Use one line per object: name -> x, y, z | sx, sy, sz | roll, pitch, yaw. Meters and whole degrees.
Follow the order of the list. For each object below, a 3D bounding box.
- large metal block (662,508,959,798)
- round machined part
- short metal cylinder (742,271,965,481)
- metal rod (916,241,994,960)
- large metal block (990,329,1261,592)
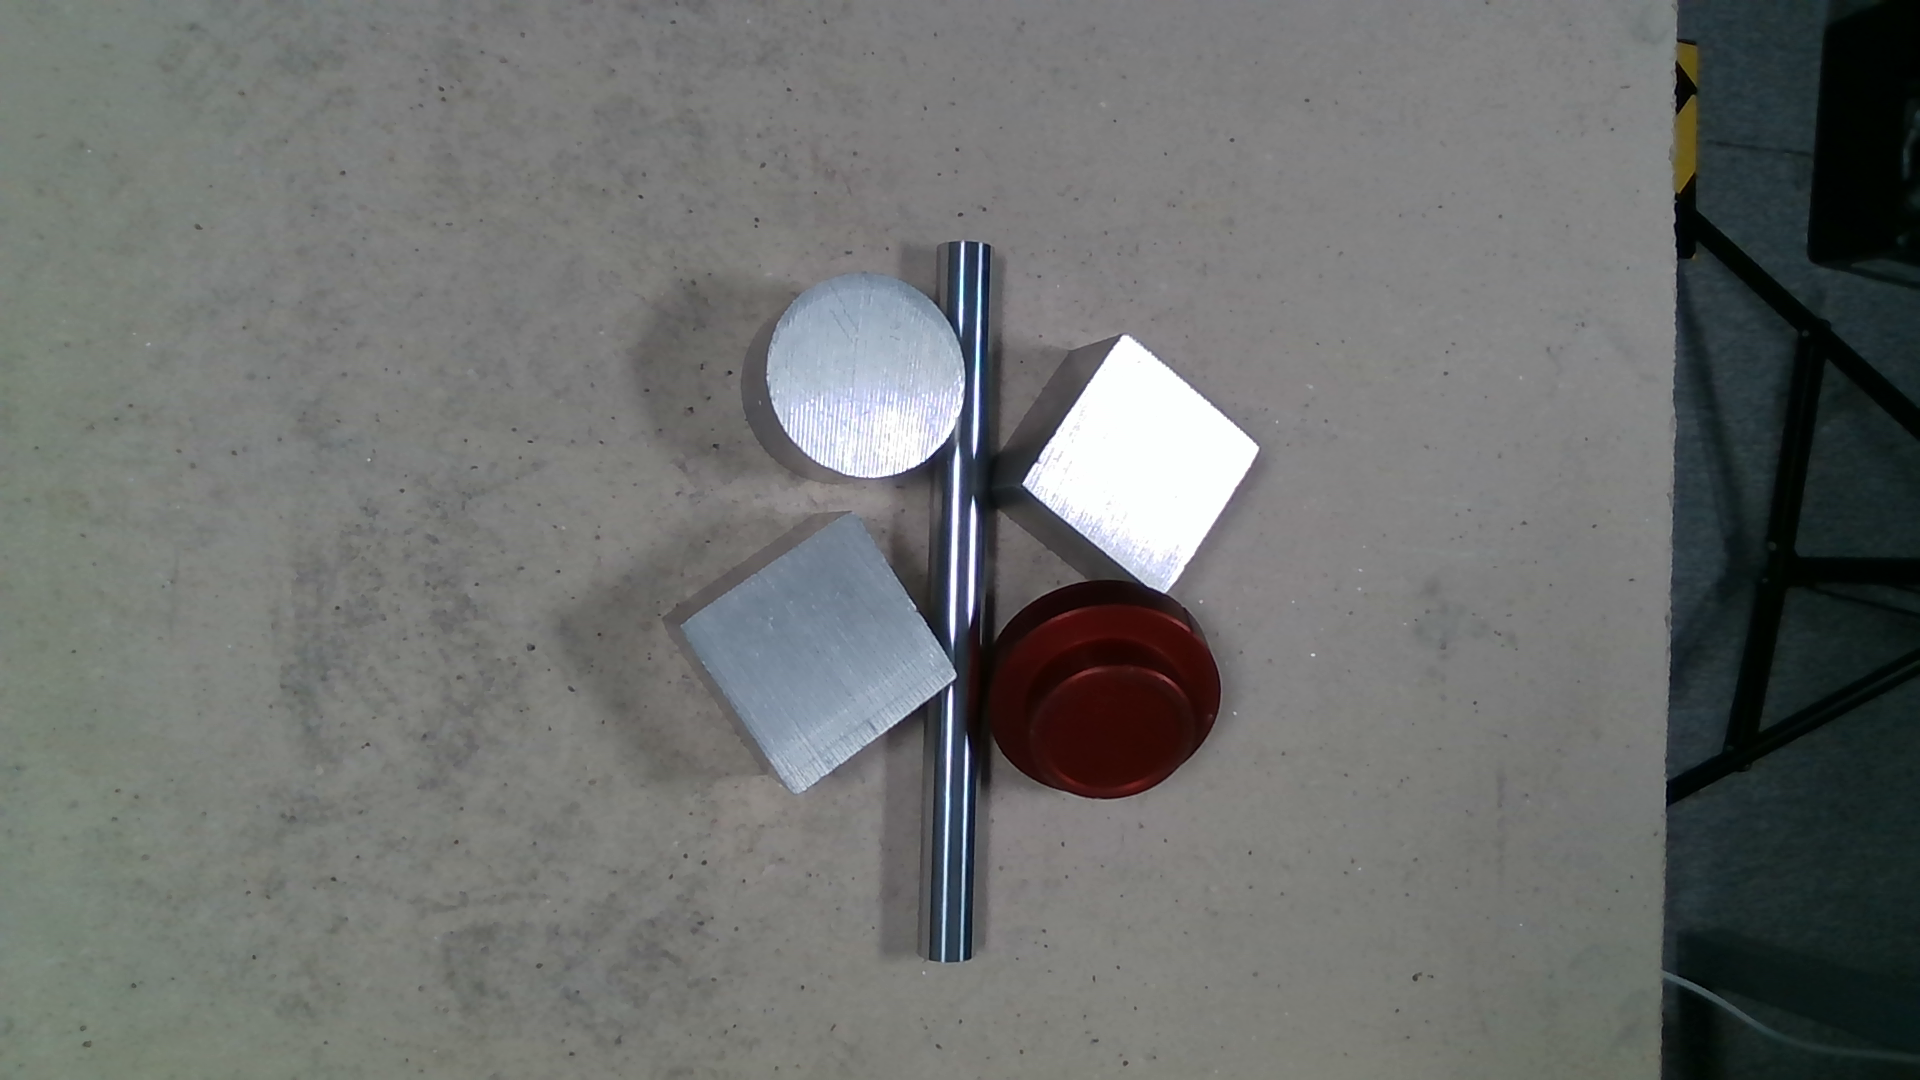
large metal block -> -0.061, 0.043, 0.550 | 0.080, 0.050, 0.080 | -35, 102, -17
round machined part -> 0.061, 0.068, 0.575 | 0.098, 0.042, 0.098 | -2, 117, -4
short metal cylinder -> -0.044, -0.064, 0.556 | 0.080, 0.050, 0.080 | 0, 90, -20
metal rod -> -0.002, 0.025, 0.586 | 0.025, 0.025, 0.300 | 2, 90, -20
large metal block -> 0.068, -0.031, 0.595 | 0.080, 0.050, 0.080 | 38, 78, -16
